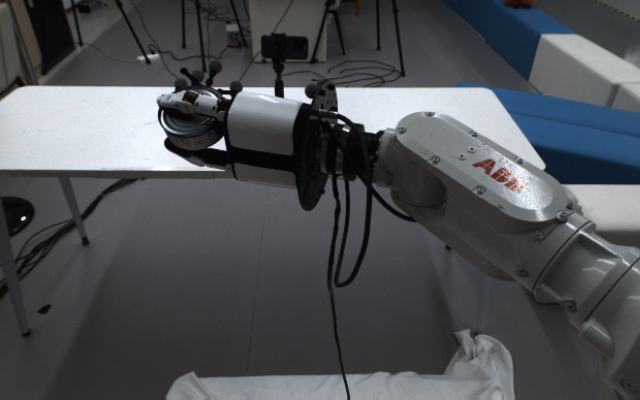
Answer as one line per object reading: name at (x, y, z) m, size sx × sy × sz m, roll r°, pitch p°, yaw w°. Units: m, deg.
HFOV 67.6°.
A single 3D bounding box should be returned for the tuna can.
tuna can at (-0.163, -0.107, 0.627) m, size 0.085 × 0.034 × 0.085 m, roll -3°, pitch 57°, yaw 4°
